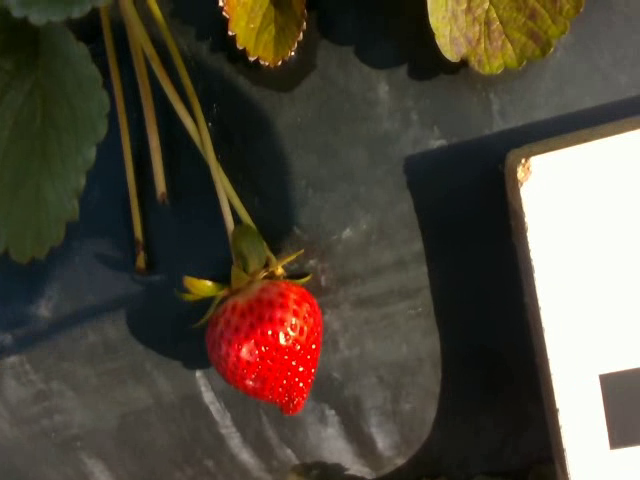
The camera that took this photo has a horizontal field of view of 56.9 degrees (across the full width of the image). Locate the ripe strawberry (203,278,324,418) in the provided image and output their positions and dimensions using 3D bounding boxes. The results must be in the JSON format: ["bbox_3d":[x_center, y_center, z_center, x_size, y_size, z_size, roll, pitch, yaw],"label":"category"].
[{"bbox_3d":[-0.013,0.031,0.163,0.040,0.044,0.037,-32,-2,14],"label":"ripe strawberry"}]
